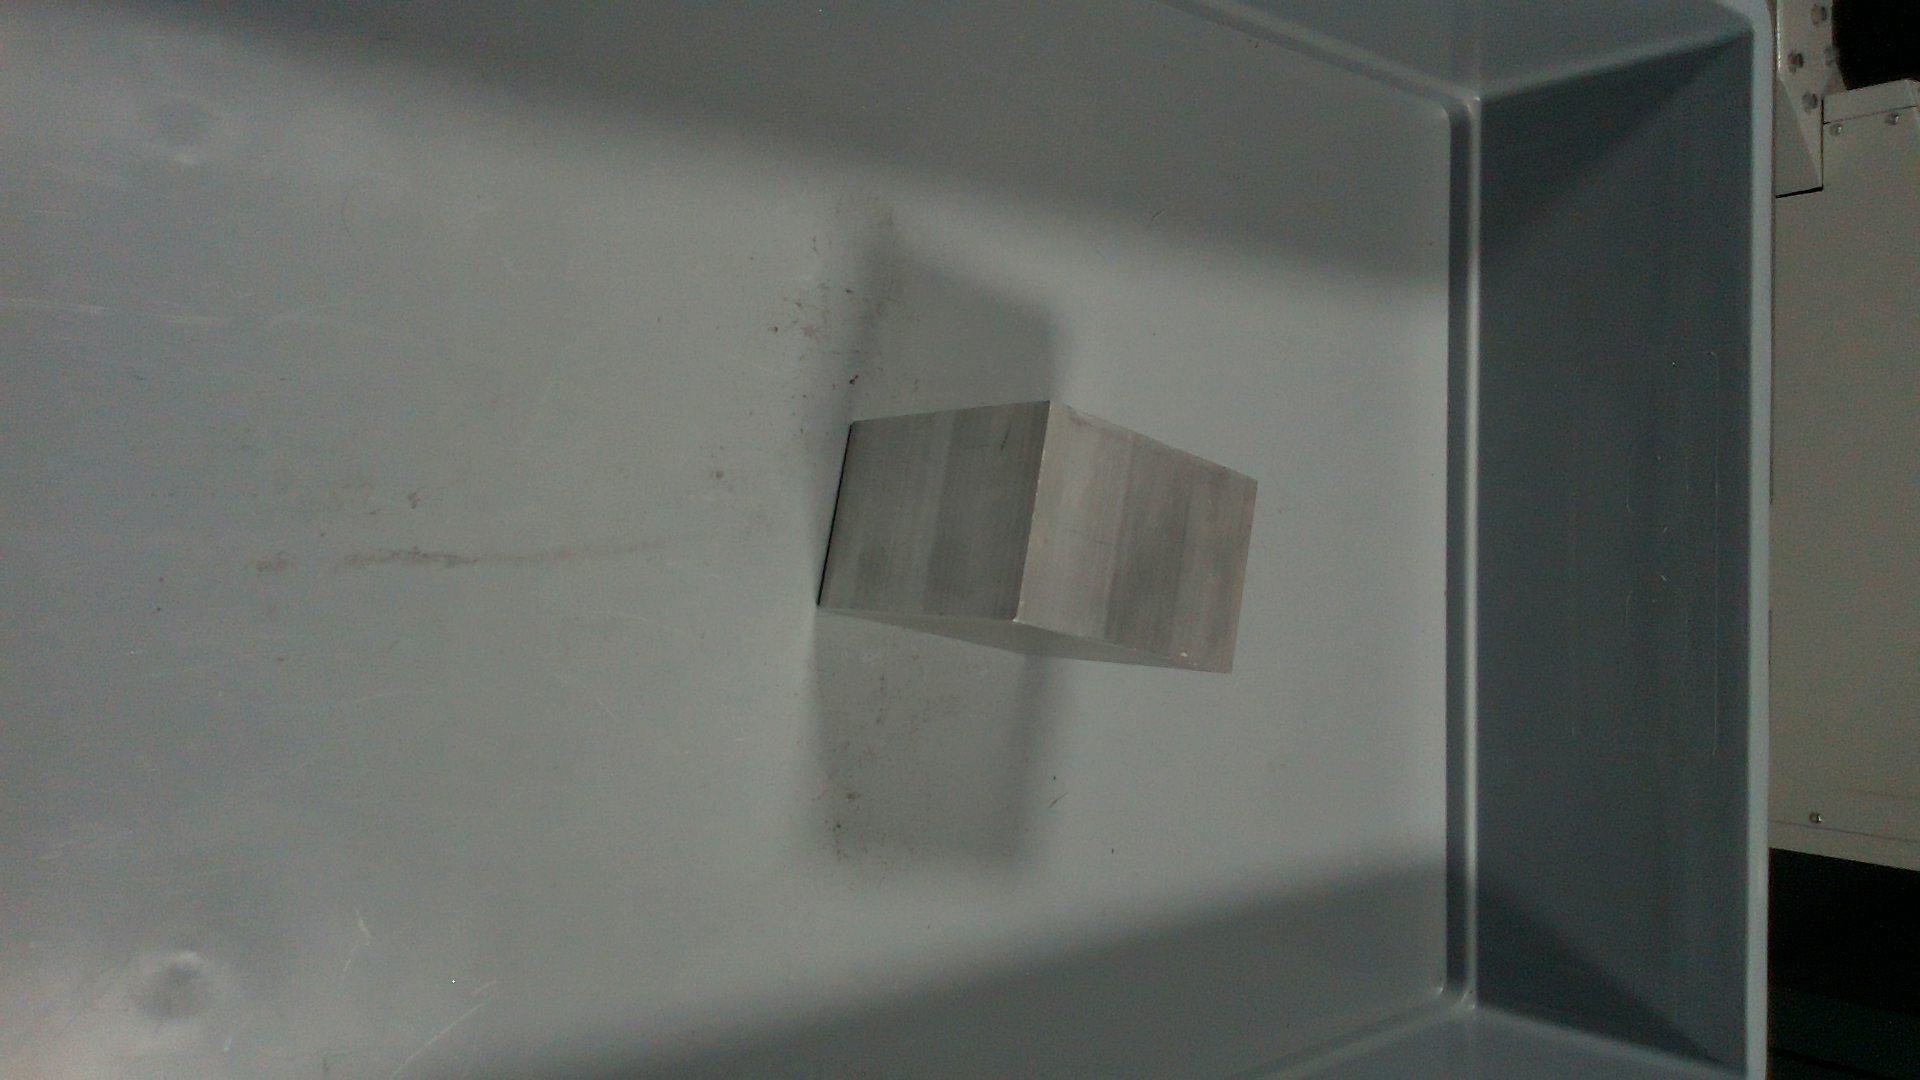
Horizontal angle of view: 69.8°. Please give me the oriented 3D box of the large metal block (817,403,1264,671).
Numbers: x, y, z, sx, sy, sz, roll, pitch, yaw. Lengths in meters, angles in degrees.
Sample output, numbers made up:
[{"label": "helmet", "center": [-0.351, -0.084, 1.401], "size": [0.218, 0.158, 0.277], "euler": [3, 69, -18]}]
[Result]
[{"label": "large metal block", "center": [0.021, 0.001, 0.368], "size": [0.080, 0.080, 0.050], "euler": [16, 80, -39]}]
